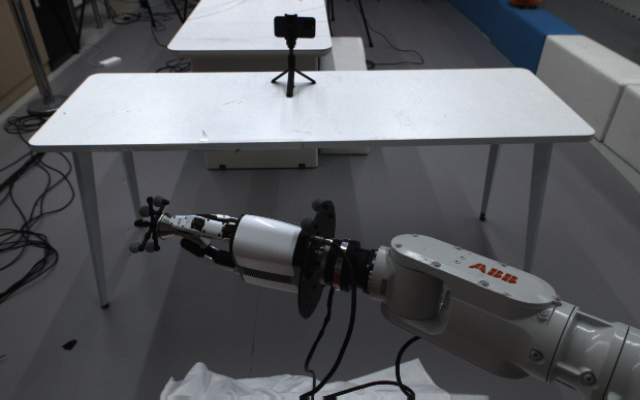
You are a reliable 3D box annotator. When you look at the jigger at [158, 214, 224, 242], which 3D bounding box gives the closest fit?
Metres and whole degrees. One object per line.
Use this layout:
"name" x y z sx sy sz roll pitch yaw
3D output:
"jigger" -0.187 0.039 0.691 0.071 0.043 0.043 8 35 13
